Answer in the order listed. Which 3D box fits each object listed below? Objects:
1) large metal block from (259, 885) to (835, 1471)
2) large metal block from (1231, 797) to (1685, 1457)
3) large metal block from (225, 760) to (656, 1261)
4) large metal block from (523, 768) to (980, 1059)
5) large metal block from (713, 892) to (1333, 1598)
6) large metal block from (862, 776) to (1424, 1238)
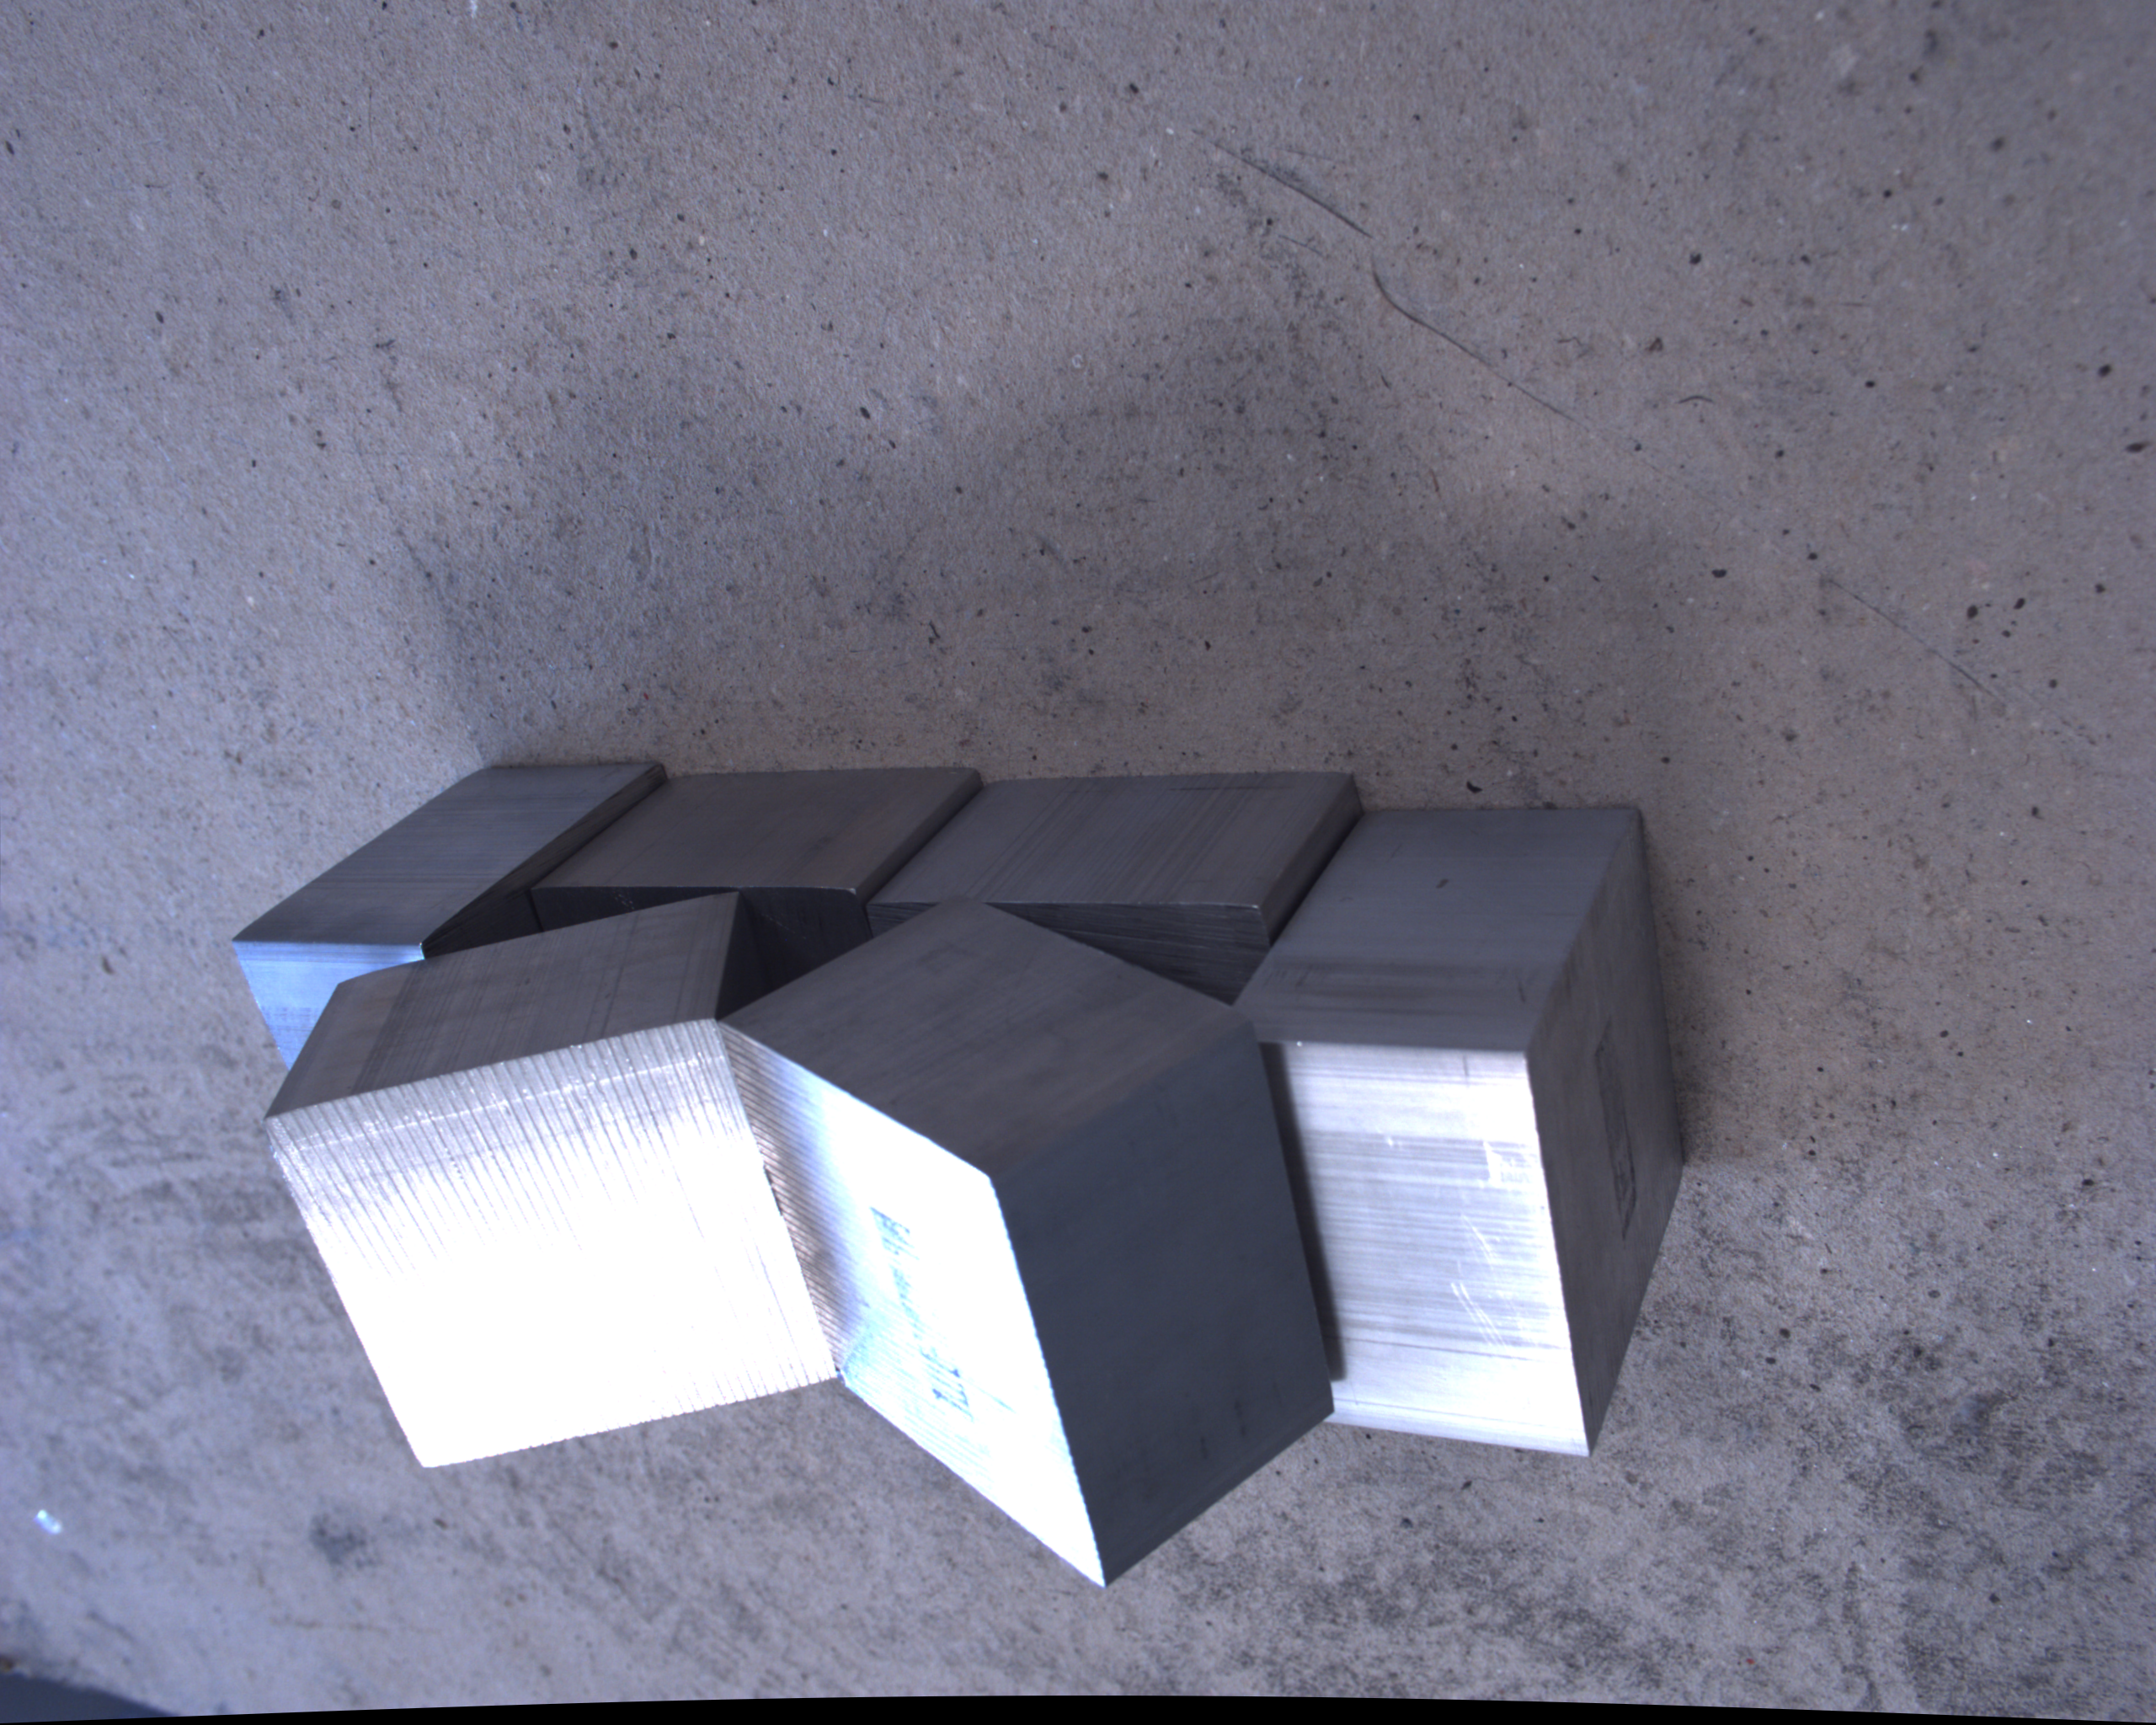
[{"bbox_3d":[-0.092,0.059,0.392,0.080,0.050,0.080,-13,115,2],"label":"large metal block"},{"bbox_3d":[0.069,0.042,0.364,0.050,0.080,0.080,0,118,28],"label":"large metal block"},{"bbox_3d":[-0.124,0.031,0.457,0.050,0.080,0.080,0,117,29],"label":"large metal block"},{"bbox_3d":[-0.057,0.027,0.439,0.080,0.050,0.080,0,119,28],"label":"large metal block"},{"bbox_3d":[-0.009,0.060,0.349,0.080,0.050,0.080,21,131,50],"label":"large metal block"},{"bbox_3d":[0.015,0.031,0.402,0.080,0.050,0.080,0,119,28],"label":"large metal block"}]
